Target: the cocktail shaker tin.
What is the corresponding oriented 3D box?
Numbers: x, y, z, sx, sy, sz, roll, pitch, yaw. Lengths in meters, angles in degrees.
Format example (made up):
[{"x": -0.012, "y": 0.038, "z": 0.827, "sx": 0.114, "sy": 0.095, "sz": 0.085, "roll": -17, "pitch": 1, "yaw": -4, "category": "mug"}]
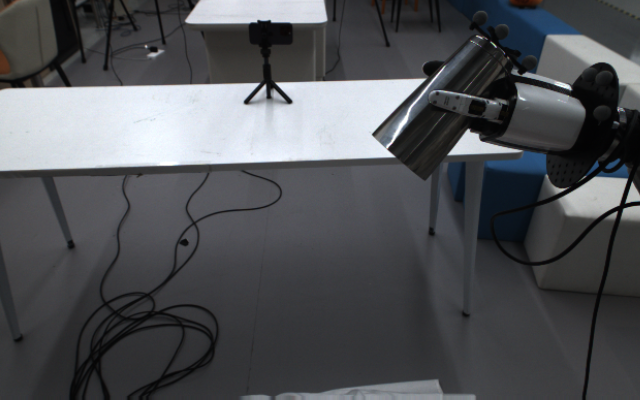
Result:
[{"x": 0.157, "y": -0.123, "z": 0.608, "sx": 0.093, "sy": 0.170, "sz": 0.093, "roll": 41, "pitch": 12, "yaw": -11, "category": "cocktail shaker tin"}]
